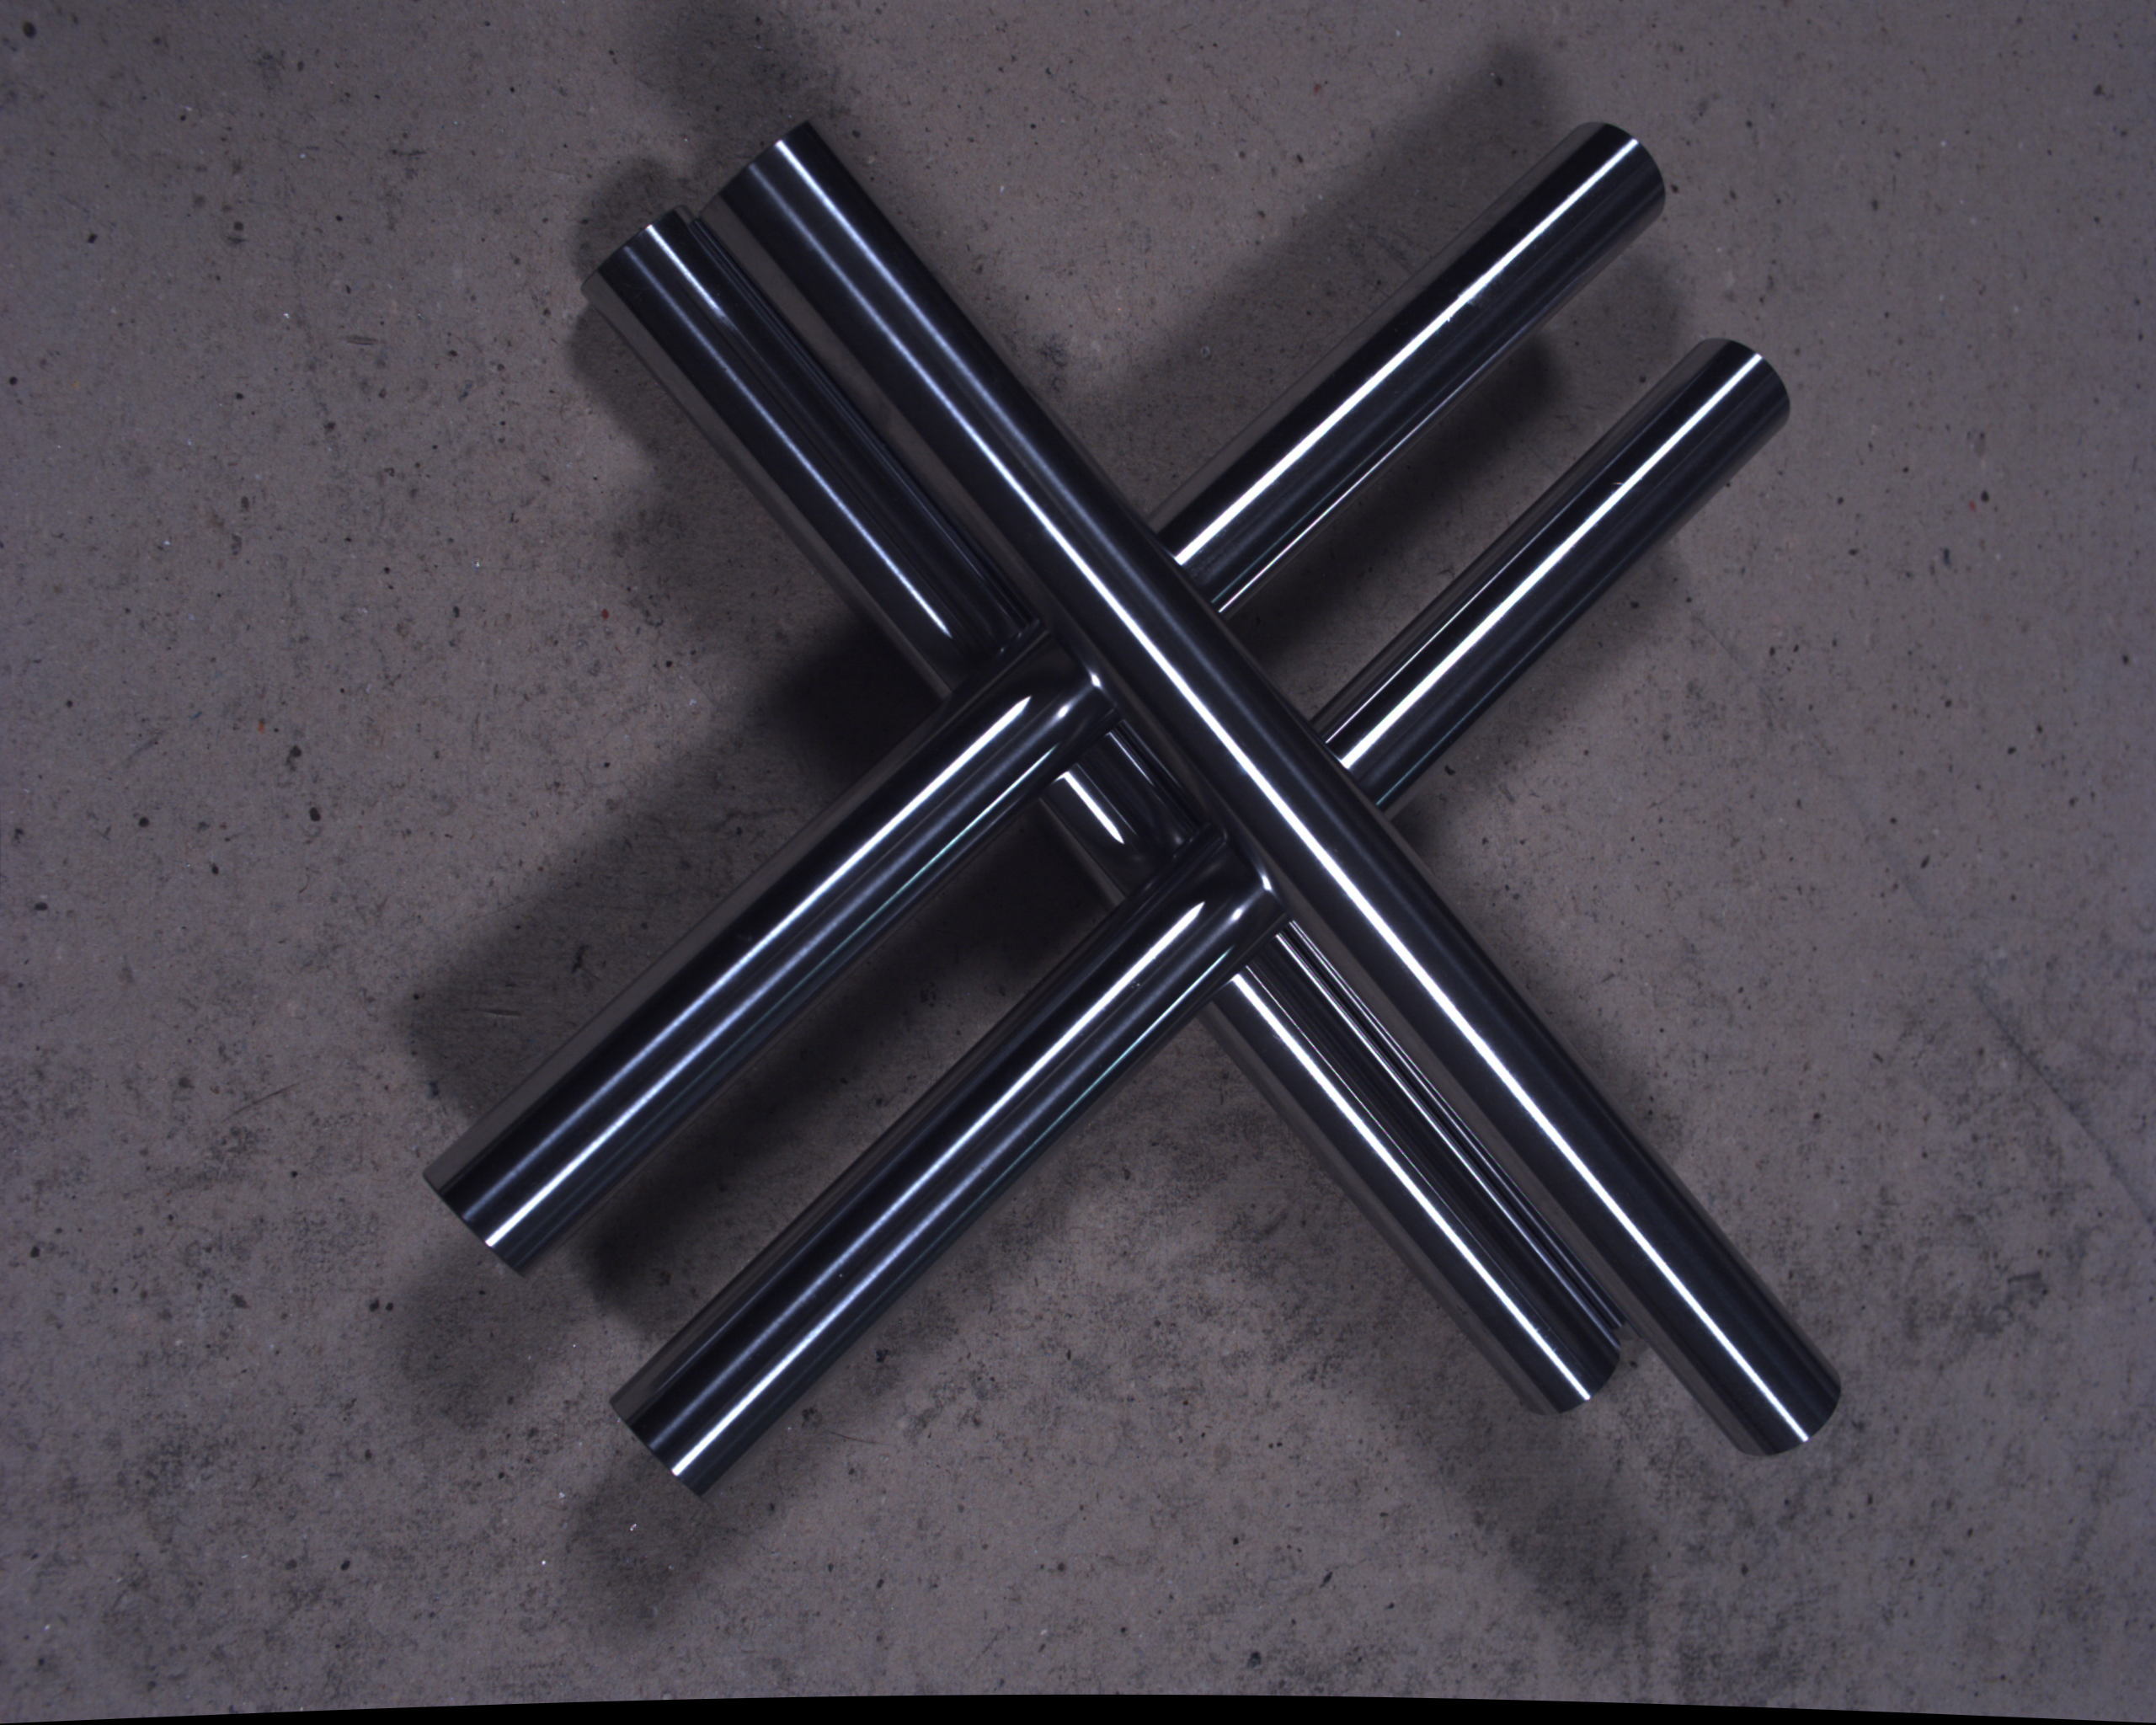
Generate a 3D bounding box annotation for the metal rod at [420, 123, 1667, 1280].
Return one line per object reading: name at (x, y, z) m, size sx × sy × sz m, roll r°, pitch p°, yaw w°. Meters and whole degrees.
metal rod at (0.005, -0.040, 0.386) m, size 0.301 × 0.025 × 0.025 m, roll -44°, pitch 104°, yaw -15°

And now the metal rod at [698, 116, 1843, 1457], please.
metal rod at (0.043, -0.003, 0.374) m, size 0.025 × 0.025 × 0.300 m, roll -45°, pitch 104°, yaw -15°

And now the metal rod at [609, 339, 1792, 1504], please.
metal rod at (0.033, 0.001, 0.397) m, size 0.301 × 0.025 × 0.025 m, roll -44°, pitch 104°, yaw -15°

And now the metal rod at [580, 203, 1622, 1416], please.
metal rod at (0.013, -0.001, 0.416) m, size 0.025 × 0.025 × 0.300 m, roll -44°, pitch 104°, yaw -15°

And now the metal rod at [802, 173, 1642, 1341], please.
metal rod at (0.033, -0.015, 0.423) m, size 0.025 × 0.025 × 0.300 m, roll -44°, pitch 104°, yaw -15°
